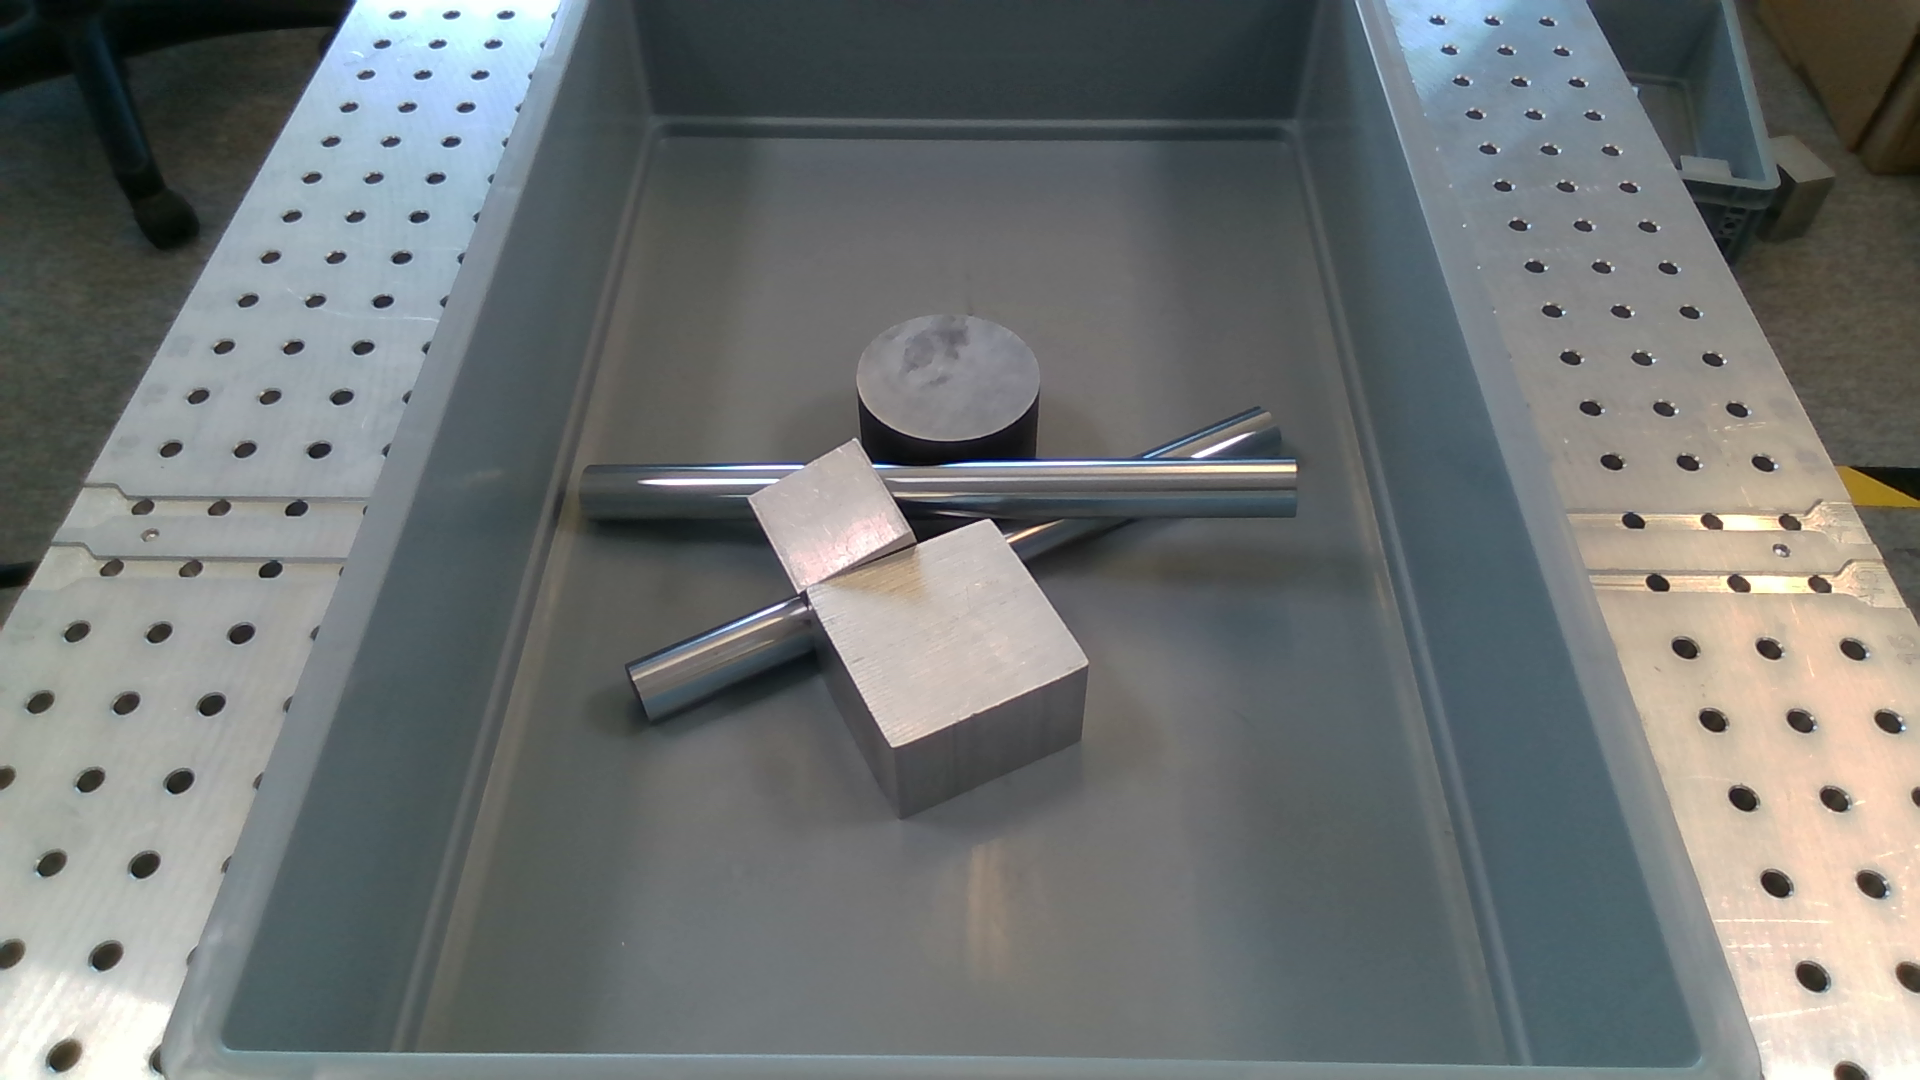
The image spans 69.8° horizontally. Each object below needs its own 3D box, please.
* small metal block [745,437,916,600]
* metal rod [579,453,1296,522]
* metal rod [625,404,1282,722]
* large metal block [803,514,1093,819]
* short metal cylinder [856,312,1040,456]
[{"bbox_3d":[-0.050,-0.005,0.548,0.050,0.025,0.050,-30,63,-4],"label":"small metal block"},{"bbox_3d":[-0.014,-0.021,0.578,0.300,0.025,0.025,0,50,10],"label":"metal rod"},{"bbox_3d":[0.006,0.005,0.581,0.300,0.025,0.025,-22,54,-17],"label":"metal rod"},{"bbox_3d":[-0.005,0.047,0.529,0.080,0.050,0.080,-22,53,-17],"label":"large metal block"},{"bbox_3d":[-0.005,-0.057,0.617,0.080,0.050,0.080,0,51,0],"label":"short metal cylinder"}]
